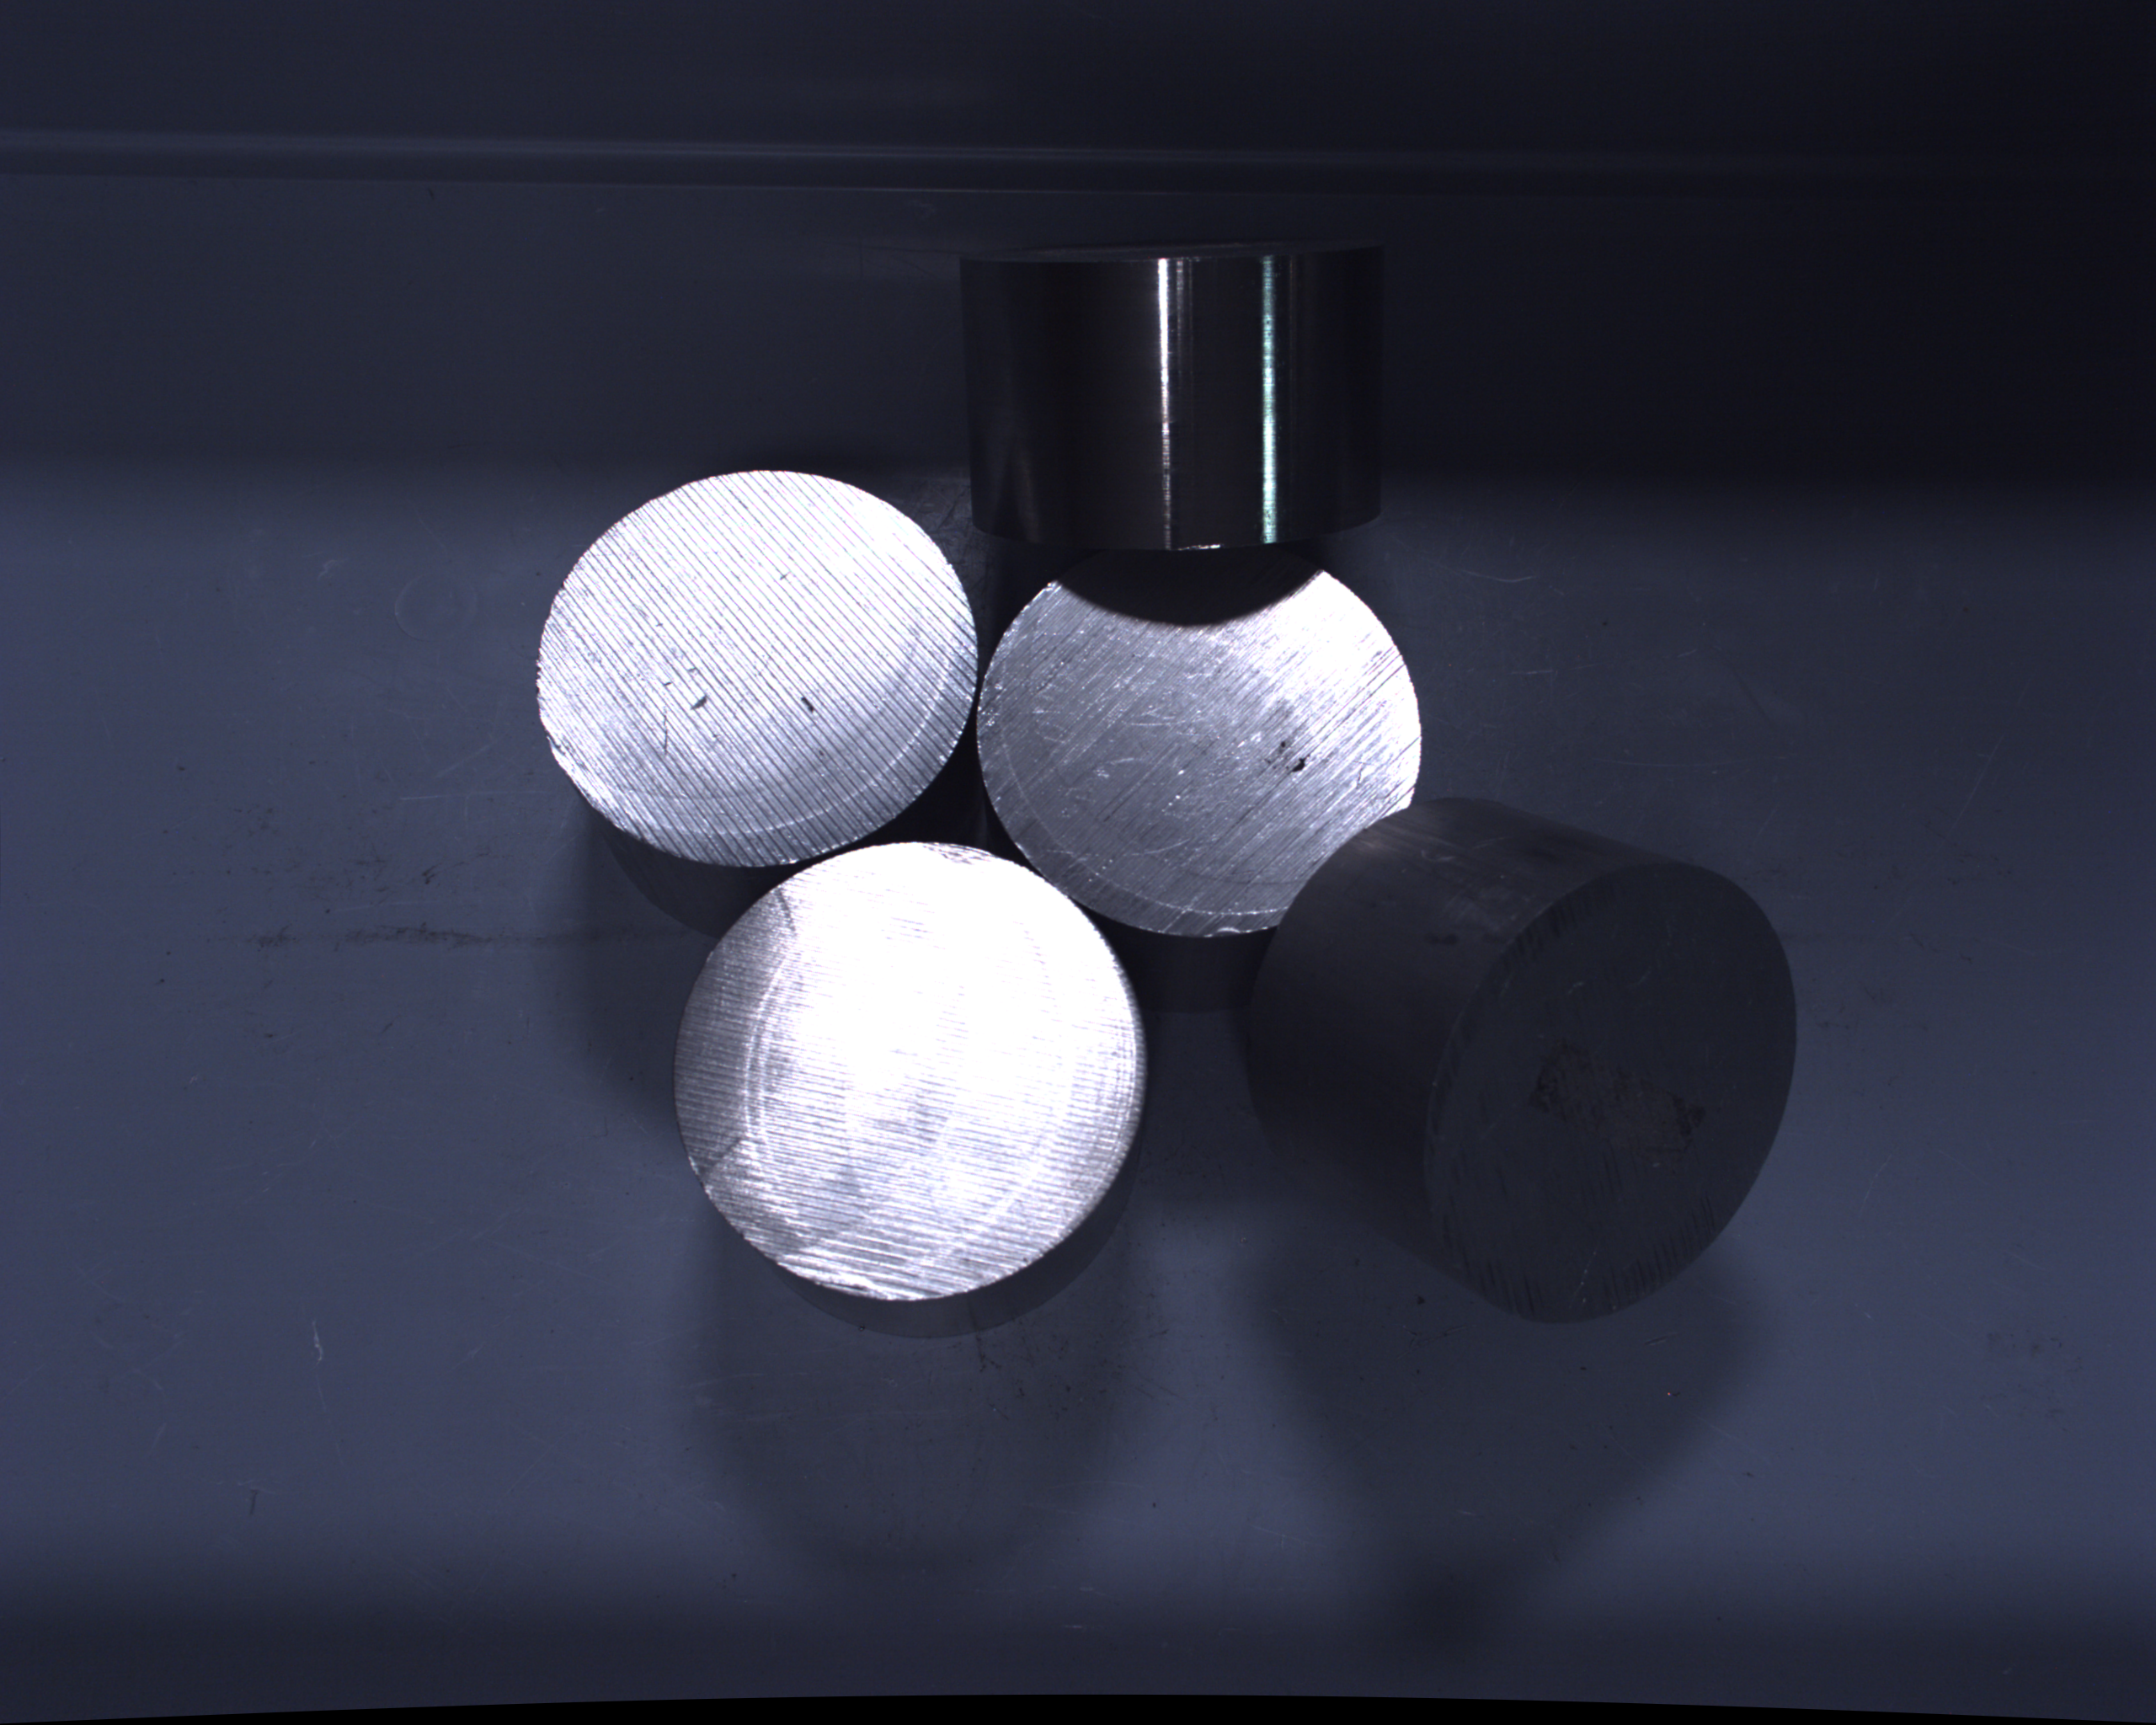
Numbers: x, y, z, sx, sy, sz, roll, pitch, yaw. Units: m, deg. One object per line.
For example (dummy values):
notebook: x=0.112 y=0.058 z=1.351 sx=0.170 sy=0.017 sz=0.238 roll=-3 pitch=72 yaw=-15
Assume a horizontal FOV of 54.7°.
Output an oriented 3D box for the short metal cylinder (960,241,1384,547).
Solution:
short metal cylinder: x=0.019 y=-0.093 z=0.405 sx=0.081 sy=0.080 sz=0.050 roll=-3 pitch=109 yaw=-1

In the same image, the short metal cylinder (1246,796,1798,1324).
short metal cylinder: x=0.077 y=0.032 z=0.362 sx=0.081 sy=0.050 sz=0.079 roll=-9 pitch=108 yaw=-28

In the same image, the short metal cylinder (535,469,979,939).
short metal cylinder: x=-0.059 y=-0.029 z=0.404 sx=0.081 sy=0.050 sz=0.080 roll=0 pitch=70 yaw=0

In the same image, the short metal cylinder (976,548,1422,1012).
short metal cylinder: x=0.022 y=-0.016 z=0.400 sx=0.081 sy=0.050 sz=0.080 roll=0 pitch=70 yaw=0

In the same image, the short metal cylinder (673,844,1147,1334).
short metal cylinder: x=-0.029 y=0.042 z=0.378 sx=0.081 sy=0.050 sz=0.080 roll=0 pitch=70 yaw=0
